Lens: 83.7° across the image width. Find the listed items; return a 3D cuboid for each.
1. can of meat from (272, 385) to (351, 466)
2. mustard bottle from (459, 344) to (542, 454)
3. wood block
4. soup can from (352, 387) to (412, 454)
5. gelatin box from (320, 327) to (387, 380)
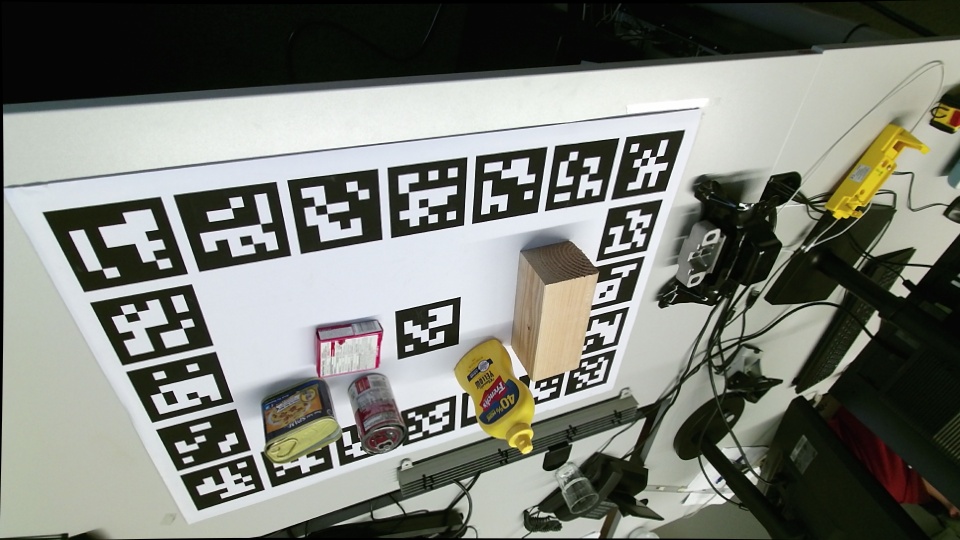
[{"bbox_3d":[-0.246,0.224,0.773,0.102,0.083,0.058,-22,131,-9],"label":"can of meat"},{"bbox_3d":[0.042,0.208,0.846,0.096,0.191,0.058,-31,133,-2],"label":"mustard bottle"},{"bbox_3d":[0.120,0.079,0.852,0.091,0.089,0.206,-10,132,-19],"label":"wood block"},{"bbox_3d":[-0.150,0.234,0.806,0.068,0.101,0.068,-14,128,-19],"label":"soup can"},{"bbox_3d":[-0.179,0.121,0.760,0.090,0.030,0.073,-4,124,-28],"label":"gelatin box"}]
